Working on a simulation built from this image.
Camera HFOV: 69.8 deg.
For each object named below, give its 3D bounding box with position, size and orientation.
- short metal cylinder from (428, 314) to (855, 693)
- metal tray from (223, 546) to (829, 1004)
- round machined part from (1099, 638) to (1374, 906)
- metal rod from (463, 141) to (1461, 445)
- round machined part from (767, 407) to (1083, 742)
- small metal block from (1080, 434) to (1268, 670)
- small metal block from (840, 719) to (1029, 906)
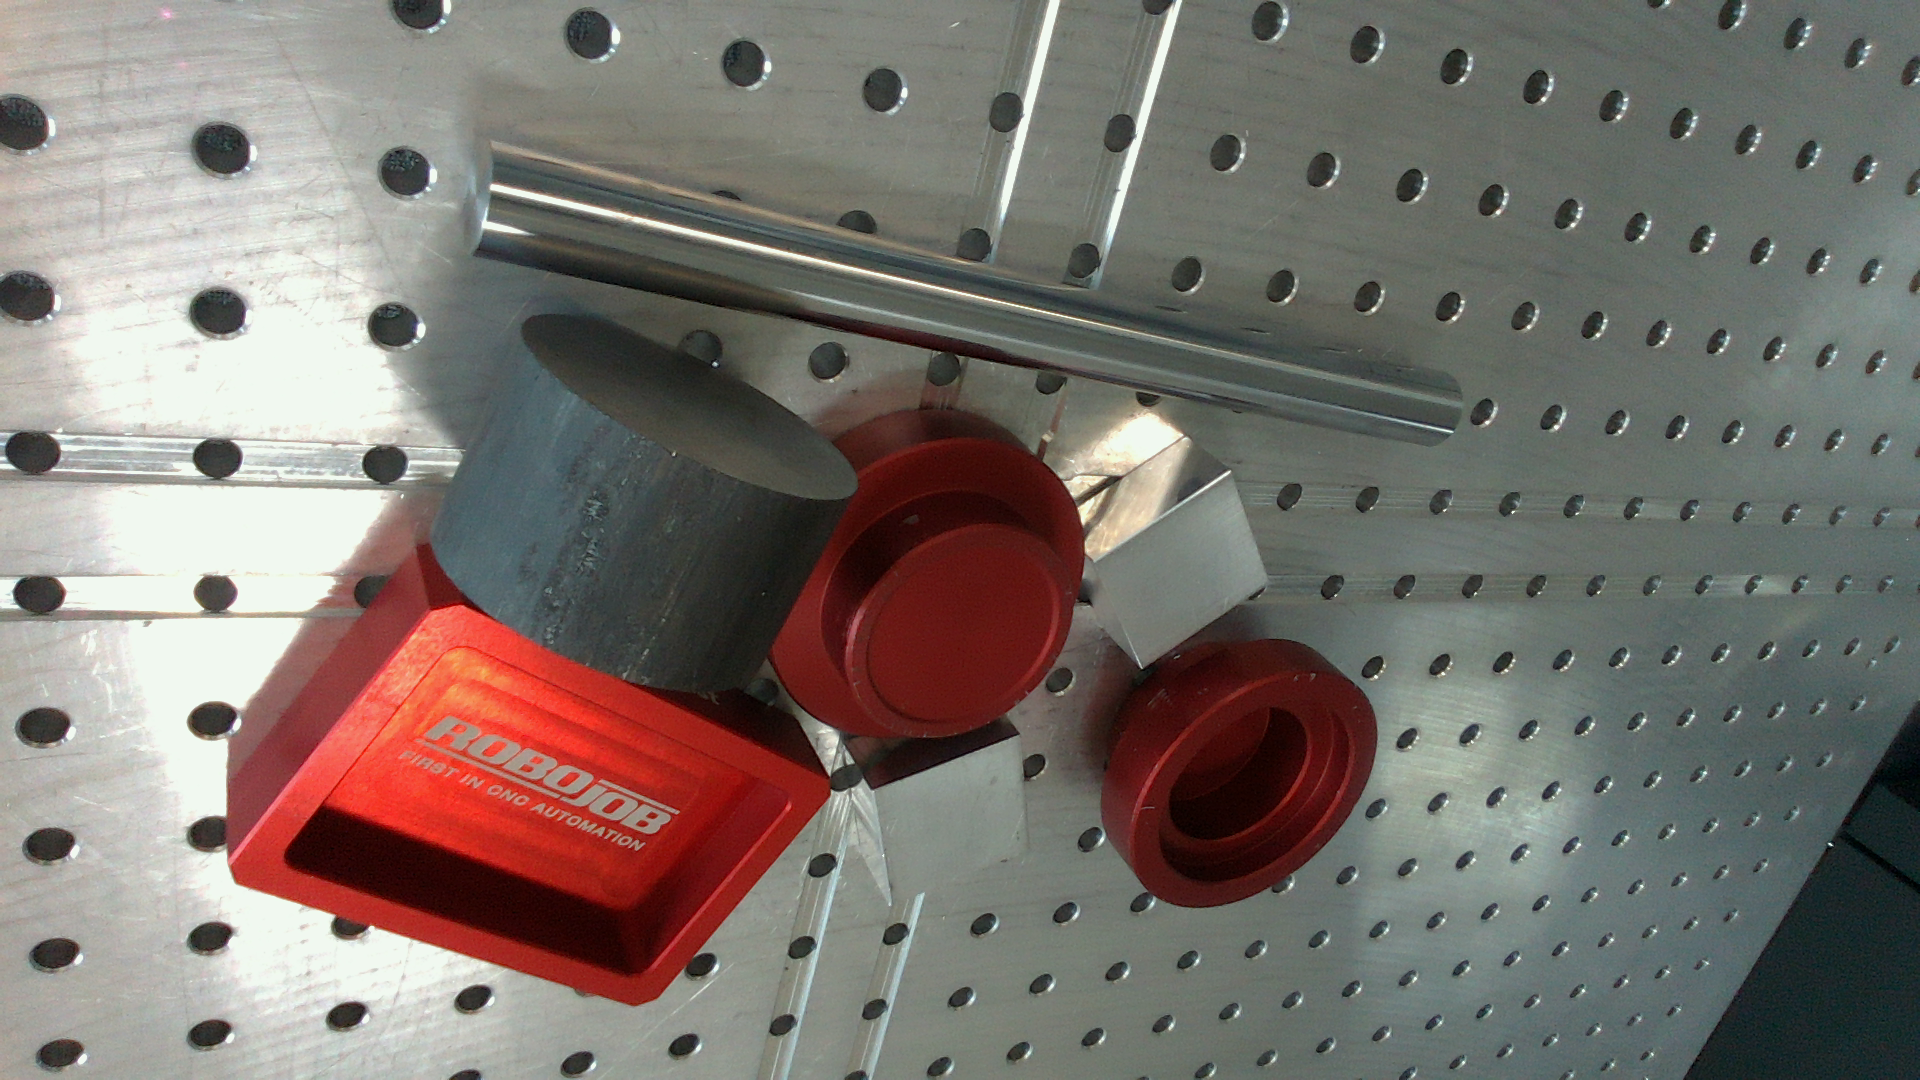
[{"bbox_3d":[-0.071,-0.009,0.312,0.080,0.080,0.050,19,108,-35],"label":"short metal cylinder"},{"bbox_3d":[-0.111,0.068,0.370,0.130,0.030,0.090,35,99,-38],"label":"metal tray"},{"bbox_3d":[0.090,0.075,0.476,0.098,0.042,0.098,-14,124,-21],"label":"round machined part"},{"bbox_3d":[0.025,-0.057,0.370,0.301,0.025,0.025,7,115,-31],"label":"metal rod"},{"bbox_3d":[-0.008,0.016,0.386,0.098,0.042,0.098,-13,121,-22],"label":"round machined part"},{"bbox_3d":[0.063,0.004,0.429,0.050,0.025,0.050,-33,129,-6],"label":"small metal block"},{"bbox_3d":[-0.007,0.082,0.439,0.050,0.025,0.050,-18,126,-18],"label":"small metal block"}]
